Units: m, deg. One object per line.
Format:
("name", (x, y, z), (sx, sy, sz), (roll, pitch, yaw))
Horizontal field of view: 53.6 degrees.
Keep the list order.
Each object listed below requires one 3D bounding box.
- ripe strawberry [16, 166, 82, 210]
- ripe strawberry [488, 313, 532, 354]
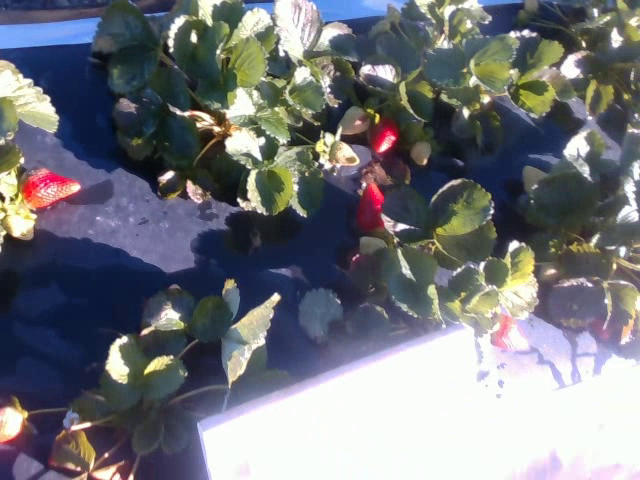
("ripe strawberry", (-0.276, -0.055, 0.648), (0.064, 0.050, 0.052), (-4, 18, -14))
("ripe strawberry", (0.233, 0.125, 0.747), (0.054, 0.048, 0.029), (34, -1, -29))
